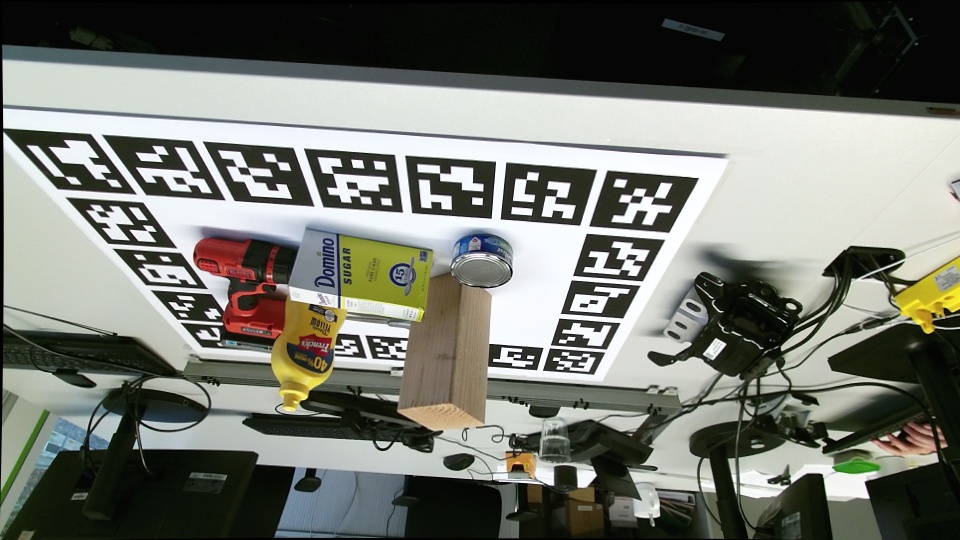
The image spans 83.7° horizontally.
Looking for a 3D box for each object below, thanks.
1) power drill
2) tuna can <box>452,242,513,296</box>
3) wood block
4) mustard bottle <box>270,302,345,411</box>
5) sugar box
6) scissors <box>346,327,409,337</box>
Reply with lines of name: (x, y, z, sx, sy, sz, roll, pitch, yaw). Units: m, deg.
power drill: (-0.310, 0.044, 0.809, 0.185, 0.057, 0.187, 12, 135, -11)
tuna can: (0.003, 0.000, 0.738, 0.086, 0.033, 0.086, 3, 142, 2)
wood block: (-0.047, 0.120, 0.781, 0.091, 0.205, 0.090, -15, 138, 23)
mustard bottle: (-0.268, 0.124, 0.815, 0.058, 0.190, 0.096, -24, 134, 31)
sugar box: (-0.165, 0.013, 0.730, 0.177, 0.092, 0.045, 12, 145, -8)
scissors: (-0.127, 0.108, 0.911, 0.203, 0.016, 0.088, 5, 147, -2)
